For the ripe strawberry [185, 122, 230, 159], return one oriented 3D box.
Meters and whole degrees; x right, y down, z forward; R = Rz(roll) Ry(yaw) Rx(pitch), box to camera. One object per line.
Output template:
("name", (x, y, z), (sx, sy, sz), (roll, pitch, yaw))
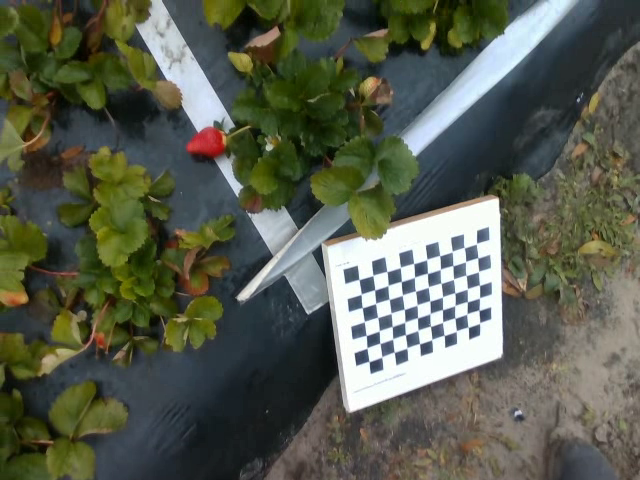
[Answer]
("ripe strawberry", (-0.138, -0.116, 0.923), (0.051, 0.042, 0.037), (-20, 28, -22))
